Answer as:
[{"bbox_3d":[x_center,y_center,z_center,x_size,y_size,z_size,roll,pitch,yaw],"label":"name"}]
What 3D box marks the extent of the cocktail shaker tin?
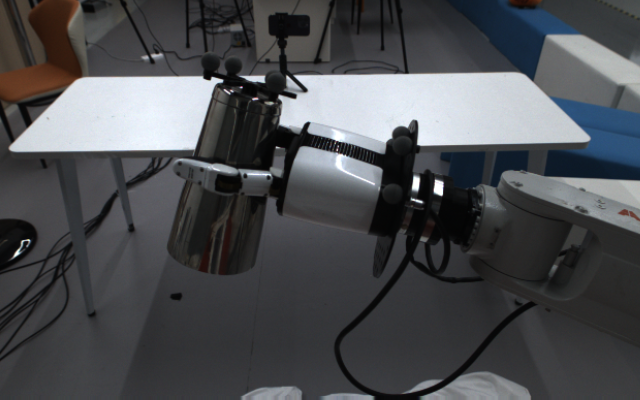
[{"bbox_3d":[-0.088,-0.022,0.481,0.093,0.170,0.093,15,17,-5],"label":"cocktail shaker tin"}]
